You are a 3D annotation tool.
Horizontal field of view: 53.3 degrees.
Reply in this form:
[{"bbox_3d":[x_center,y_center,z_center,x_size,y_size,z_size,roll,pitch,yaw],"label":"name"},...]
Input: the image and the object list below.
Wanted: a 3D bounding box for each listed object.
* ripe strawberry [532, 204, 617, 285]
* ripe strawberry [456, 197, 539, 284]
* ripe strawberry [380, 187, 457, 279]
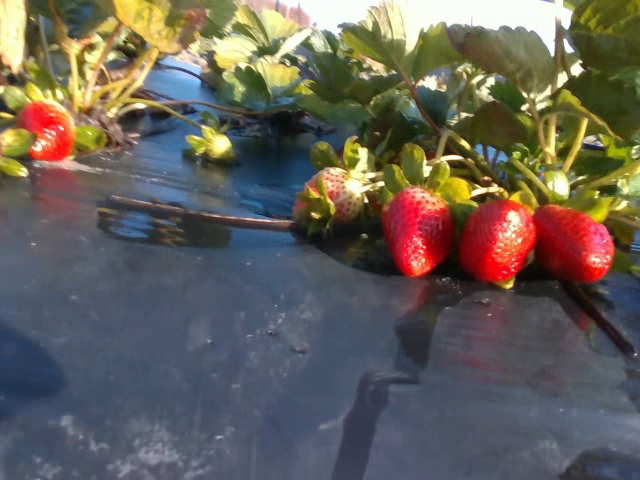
[{"bbox_3d":[0.093,0.004,0.229,0.035,0.034,0.041,7,7,5],"label":"ripe strawberry"},{"bbox_3d":[0.065,-0.003,0.230,0.030,0.037,0.039,19,-5,12],"label":"ripe strawberry"},{"bbox_3d":[0.037,-0.004,0.238,0.031,0.023,0.046,10,43,7],"label":"ripe strawberry"}]
